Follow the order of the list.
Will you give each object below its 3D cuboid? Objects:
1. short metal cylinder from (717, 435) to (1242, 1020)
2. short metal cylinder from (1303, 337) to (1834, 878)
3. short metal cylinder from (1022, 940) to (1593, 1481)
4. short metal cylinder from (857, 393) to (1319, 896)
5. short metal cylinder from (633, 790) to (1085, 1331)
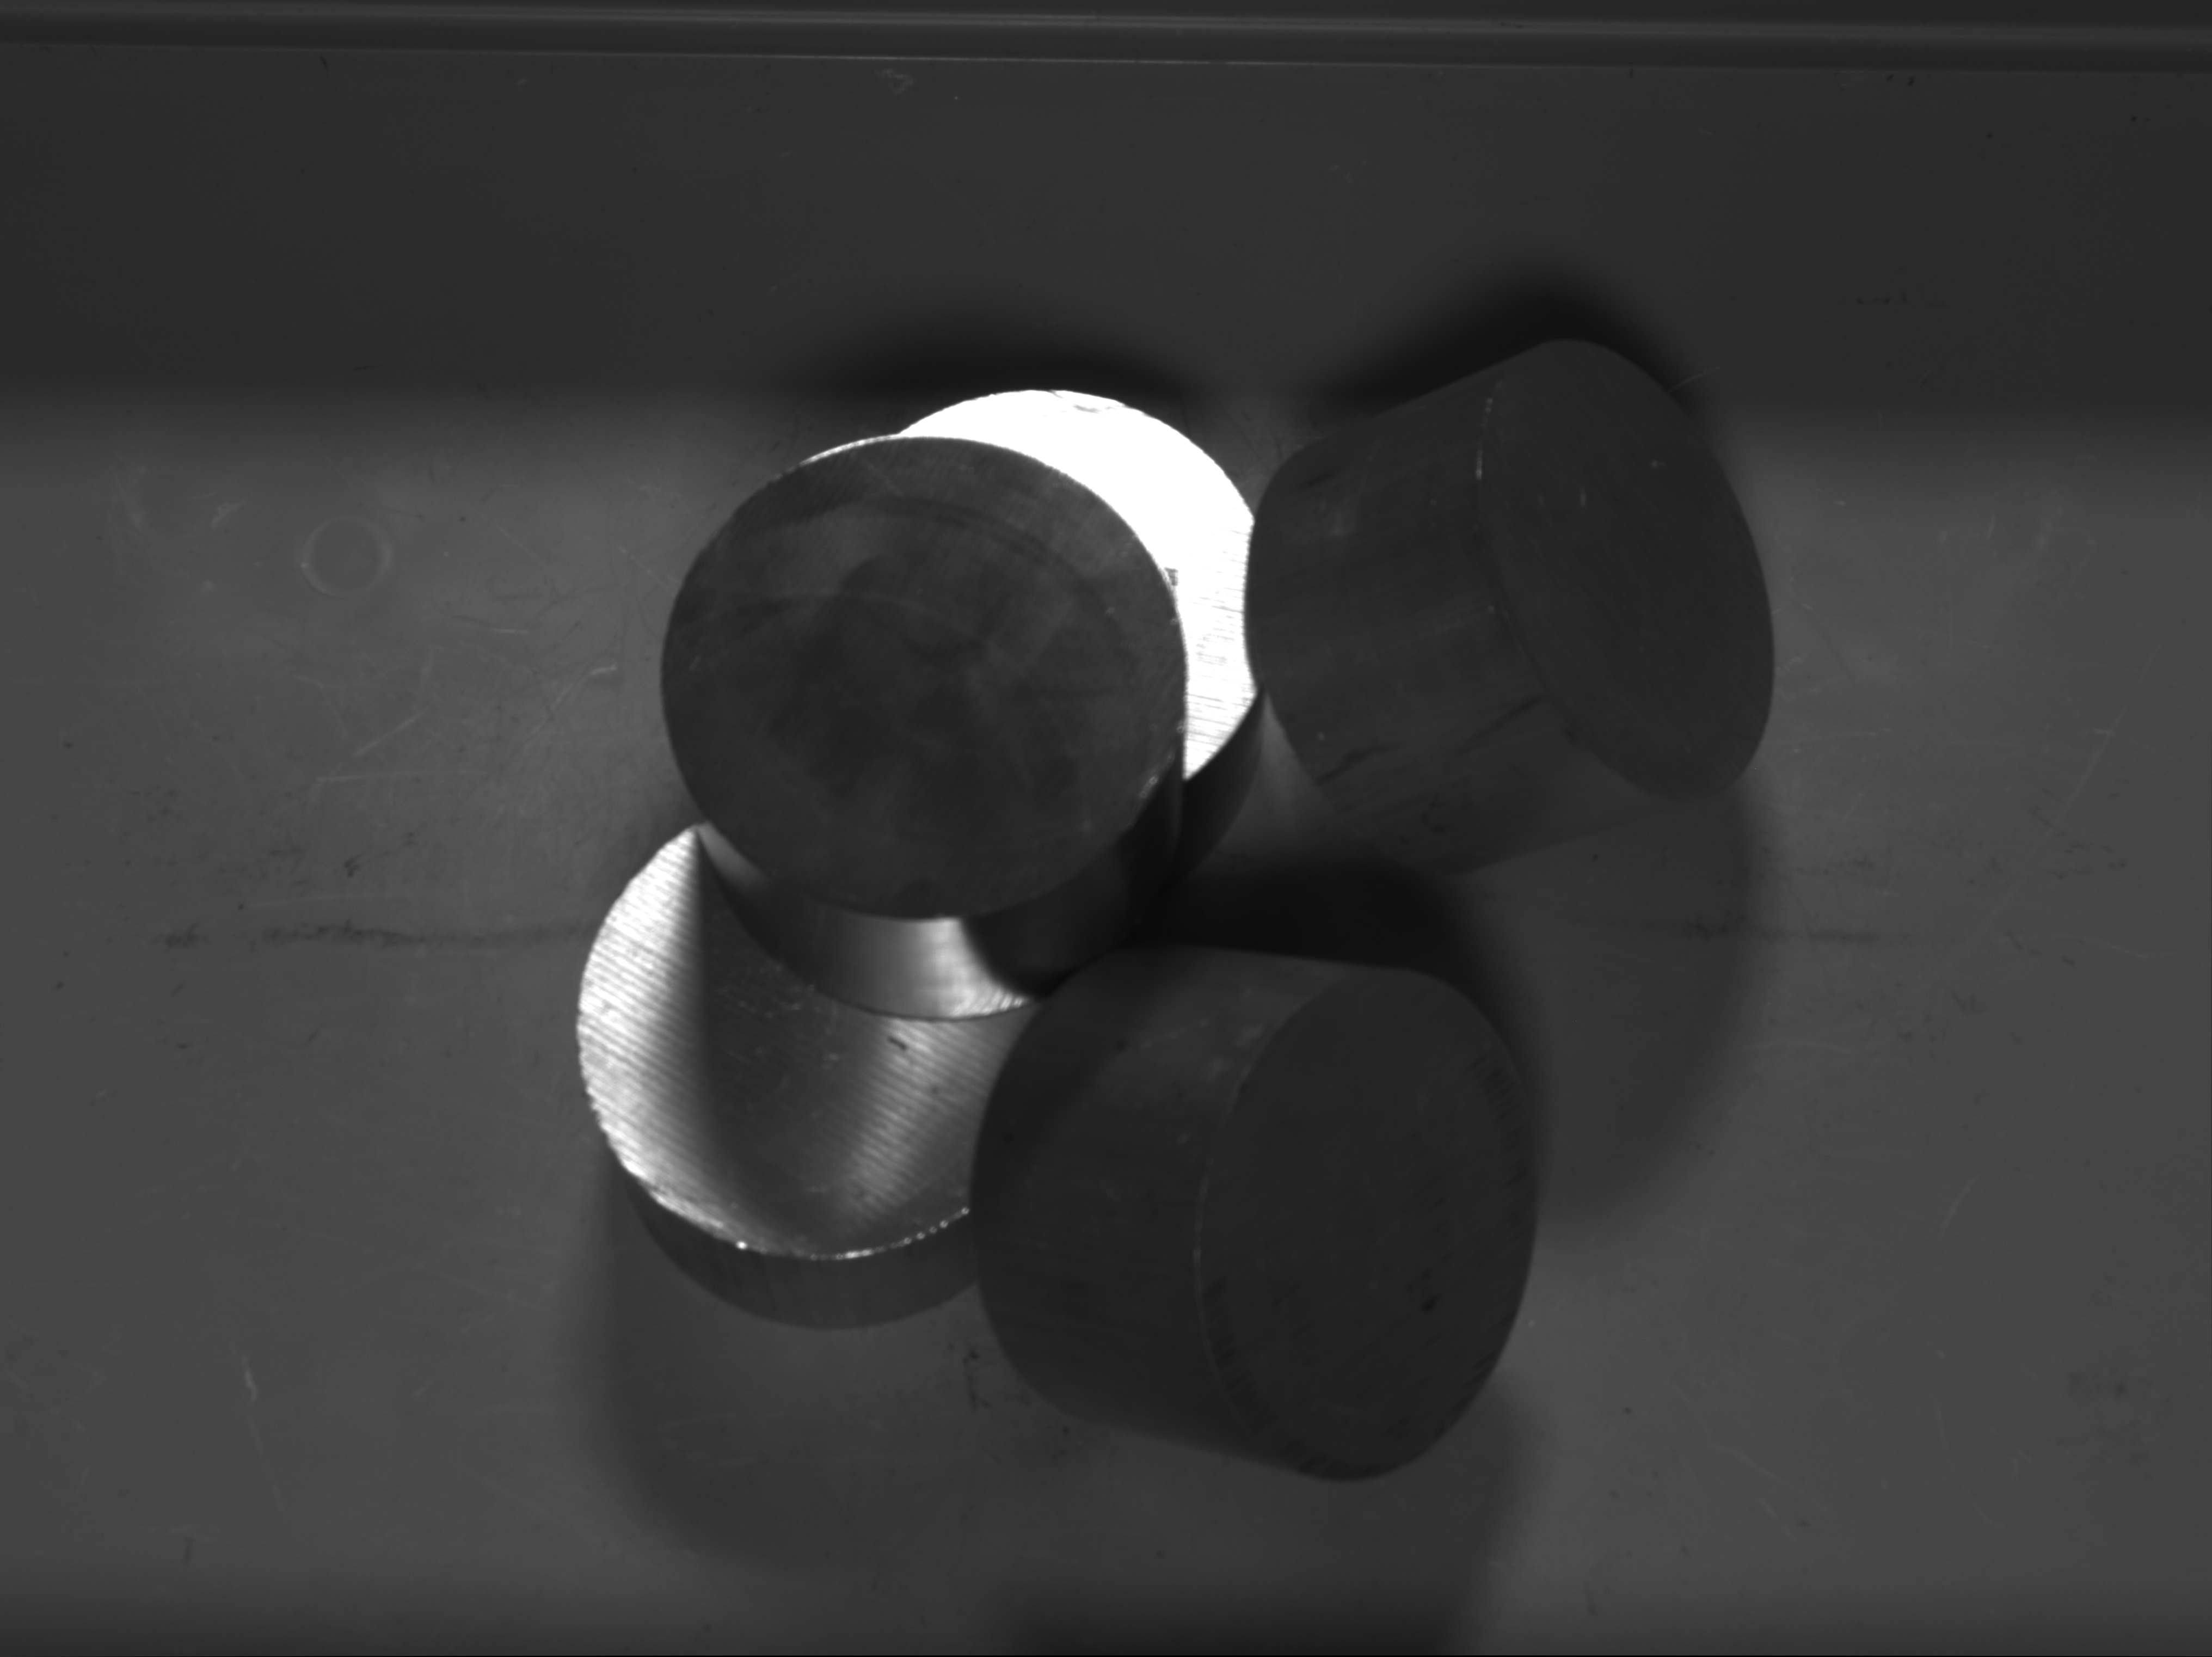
[{"bbox_3d":[-0.019,-0.015,0.581,0.080,0.050,0.080,0,70,0],"label":"short metal cylinder"},{"bbox_3d":[0.079,-0.037,0.622,0.080,0.050,0.080,20,61,-40],"label":"short metal cylinder"},{"bbox_3d":[0.033,0.060,0.585,0.050,0.080,0.080,5,63,46],"label":"short metal cylinder"},{"bbox_3d":[-0.002,-0.029,0.640,0.080,0.050,0.080,0,70,0],"label":"short metal cylinder"},{"bbox_3d":[-0.036,0.040,0.616,0.080,0.050,0.080,0,70,0],"label":"short metal cylinder"}]
